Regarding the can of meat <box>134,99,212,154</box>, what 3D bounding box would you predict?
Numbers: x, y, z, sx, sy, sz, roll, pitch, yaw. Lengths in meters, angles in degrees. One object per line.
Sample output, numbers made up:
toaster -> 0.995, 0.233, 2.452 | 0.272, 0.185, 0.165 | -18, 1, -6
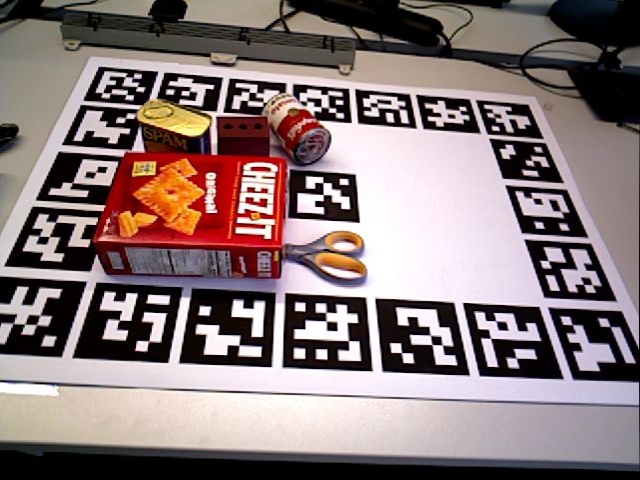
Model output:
can of meat -> -0.202, -0.140, 0.762 | 0.101, 0.086, 0.056 | 15, 51, 4

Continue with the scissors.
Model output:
scissors -> -0.038, 0.023, 0.686 | 0.201, 0.016, 0.086 | 0, 52, -7

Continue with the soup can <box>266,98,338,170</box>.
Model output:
soup can -> -0.030, -0.162, 0.825 | 0.066, 0.069, 0.102 | -28, 55, -27

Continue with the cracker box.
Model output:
cracker box -> -0.149, -0.033, 0.674 | 0.212, 0.073, 0.162 | -2, 51, -4

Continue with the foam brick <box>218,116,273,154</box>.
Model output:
foam brick -> -0.111, -0.146, 0.803 | 0.077, 0.052, 0.052 | -4, 53, -11
